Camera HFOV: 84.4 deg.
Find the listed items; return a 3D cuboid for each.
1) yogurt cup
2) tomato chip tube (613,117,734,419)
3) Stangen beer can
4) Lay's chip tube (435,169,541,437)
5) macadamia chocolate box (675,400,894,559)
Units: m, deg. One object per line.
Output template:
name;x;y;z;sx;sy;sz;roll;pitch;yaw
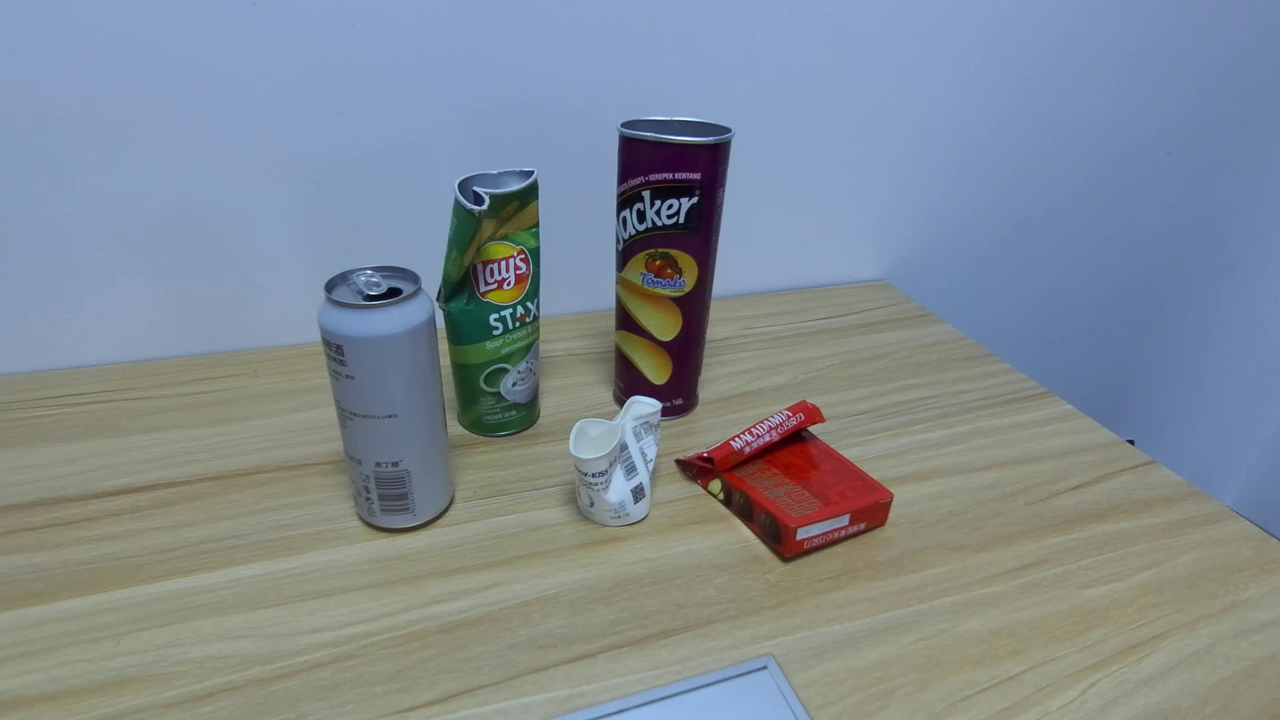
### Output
yogurt cup;-0.017;0.072;0.490;0.053;0.071;0.075;9;33;7
tomato chip tube;0.022;-0.068;0.570;0.080;0.234;0.077;23;35;30
Stangen beer can;-0.161;0.028;0.457;0.067;0.171;0.067;2;30;-1
Lay's chip tube;-0.113;-0.041;0.548;0.069;0.201;0.077;1;34;-4
macadamia chocolate box;0.103;0.086;0.517;0.112;0.056;0.126;-24;41;-15
